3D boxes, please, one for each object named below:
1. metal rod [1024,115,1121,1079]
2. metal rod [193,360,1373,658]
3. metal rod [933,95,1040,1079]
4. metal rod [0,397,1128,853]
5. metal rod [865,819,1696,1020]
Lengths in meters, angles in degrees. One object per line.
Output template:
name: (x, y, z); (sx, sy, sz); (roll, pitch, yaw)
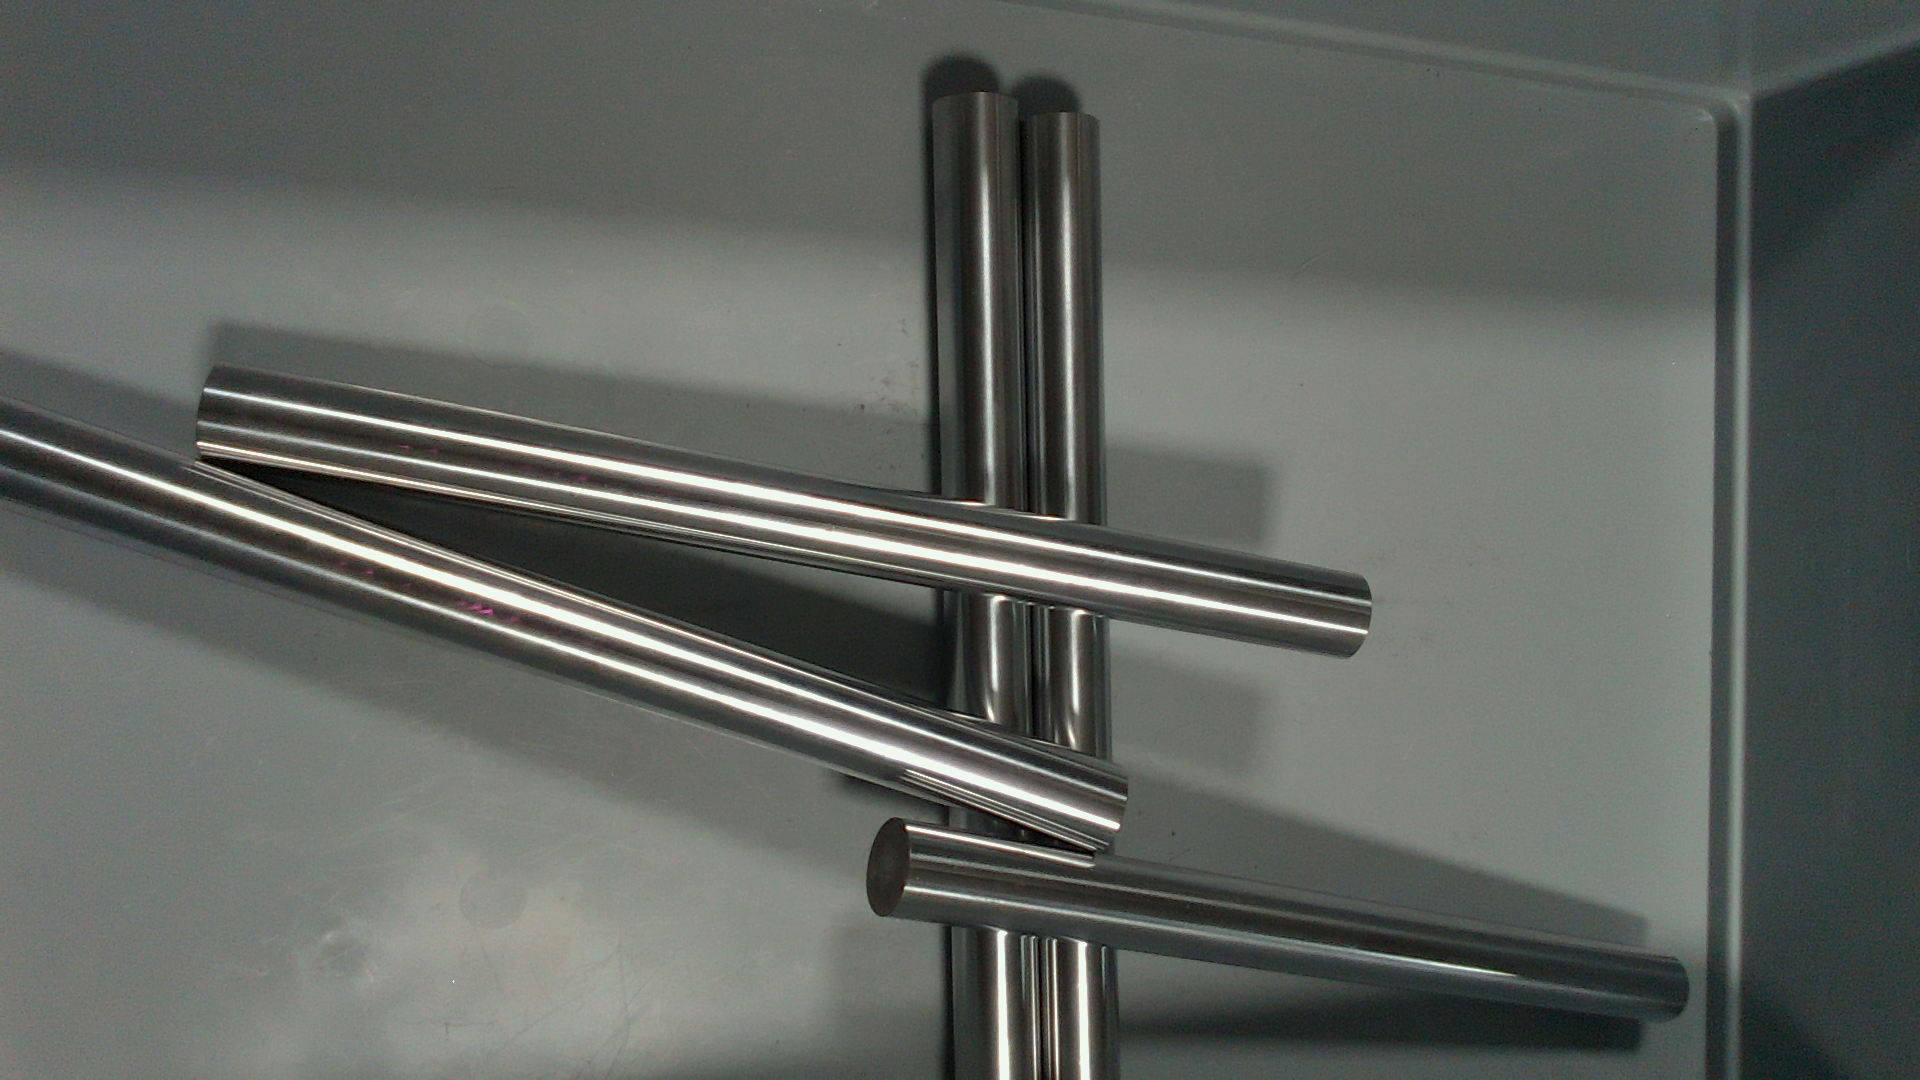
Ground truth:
metal rod: (0.032, 0.030, 0.402); (0.025, 0.025, 0.300); (-1, 91, -20)
metal rod: (-0.033, -0.005, 0.360); (0.300, 0.025, 0.025); (10, 87, -13)
metal rod: (0.008, 0.027, 0.394); (0.025, 0.025, 0.300); (-1, 91, -20)
metal rod: (-0.097, 0.024, 0.344); (0.301, 0.025, 0.025); (20, 83, -13)
metal rod: (0.113, 0.119, 0.415); (0.301, 0.025, 0.025); (15, 85, -25)
